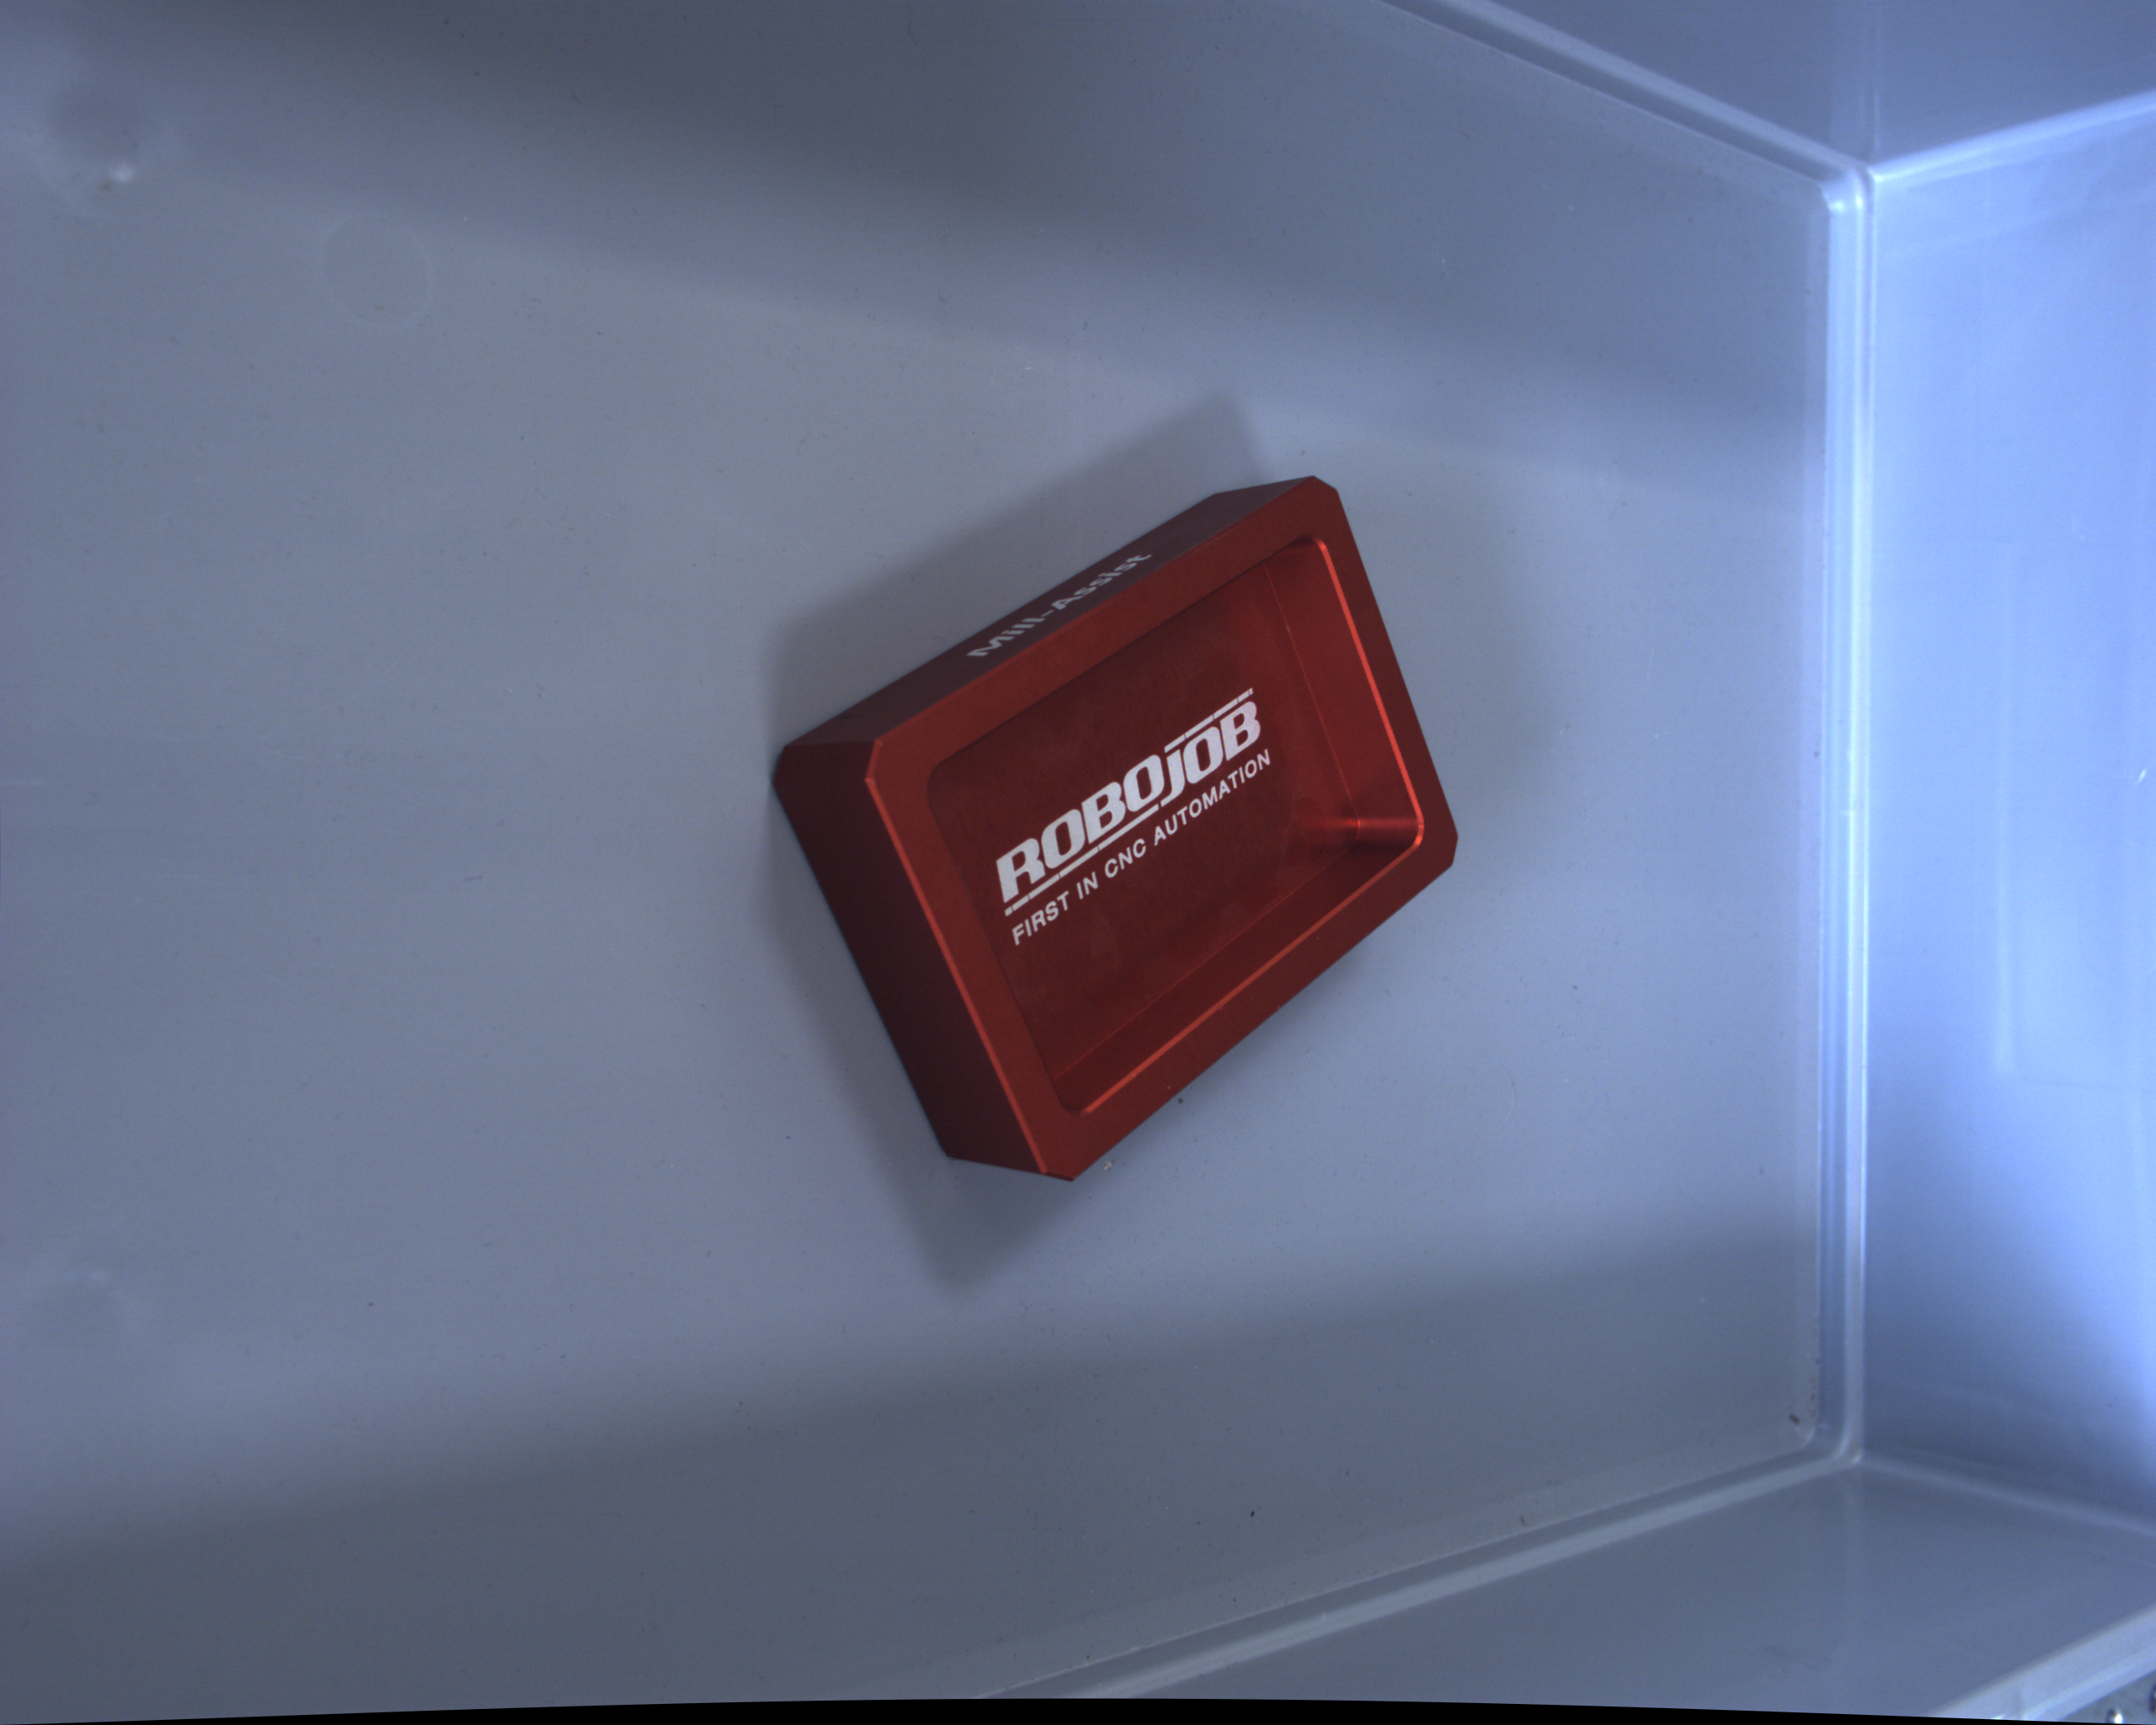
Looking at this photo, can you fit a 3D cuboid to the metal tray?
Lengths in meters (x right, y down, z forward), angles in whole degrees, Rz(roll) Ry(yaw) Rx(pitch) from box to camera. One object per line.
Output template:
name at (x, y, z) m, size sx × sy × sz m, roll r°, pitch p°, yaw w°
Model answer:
metal tray at (0.014, -0.010, 0.410) m, size 0.131 × 0.030 × 0.090 m, roll -35°, pitch 112°, yaw -35°
